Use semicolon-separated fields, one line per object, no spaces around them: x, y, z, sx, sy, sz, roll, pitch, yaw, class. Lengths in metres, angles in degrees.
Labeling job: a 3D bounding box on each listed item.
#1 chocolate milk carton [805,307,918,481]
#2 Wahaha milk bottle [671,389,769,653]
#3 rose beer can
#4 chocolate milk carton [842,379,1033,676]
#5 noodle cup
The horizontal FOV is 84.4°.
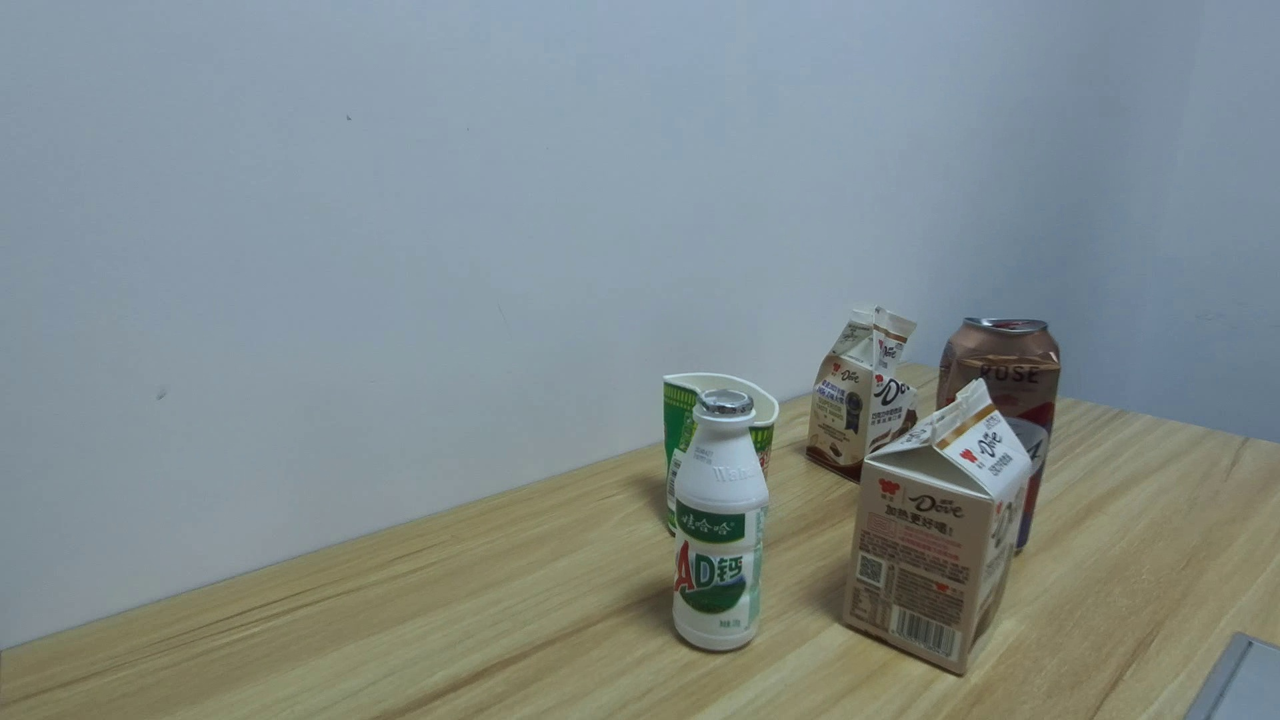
0.205;0.023;0.630;0.076;0.155;0.073;-8;19;-29;chocolate milk carton
0.046;0.090;0.402;0.056;0.147;0.056;-1;14;0;Wahaha milk bottle
0.252;0.054;0.507;0.075;0.167;0.065;5;14;27;rose beer can
0.174;0.087;0.408;0.073;0.148;0.076;16;21;39;chocolate milk carton
0.056;0.074;0.520;0.070;0.111;0.115;-2;16;-5;noodle cup
